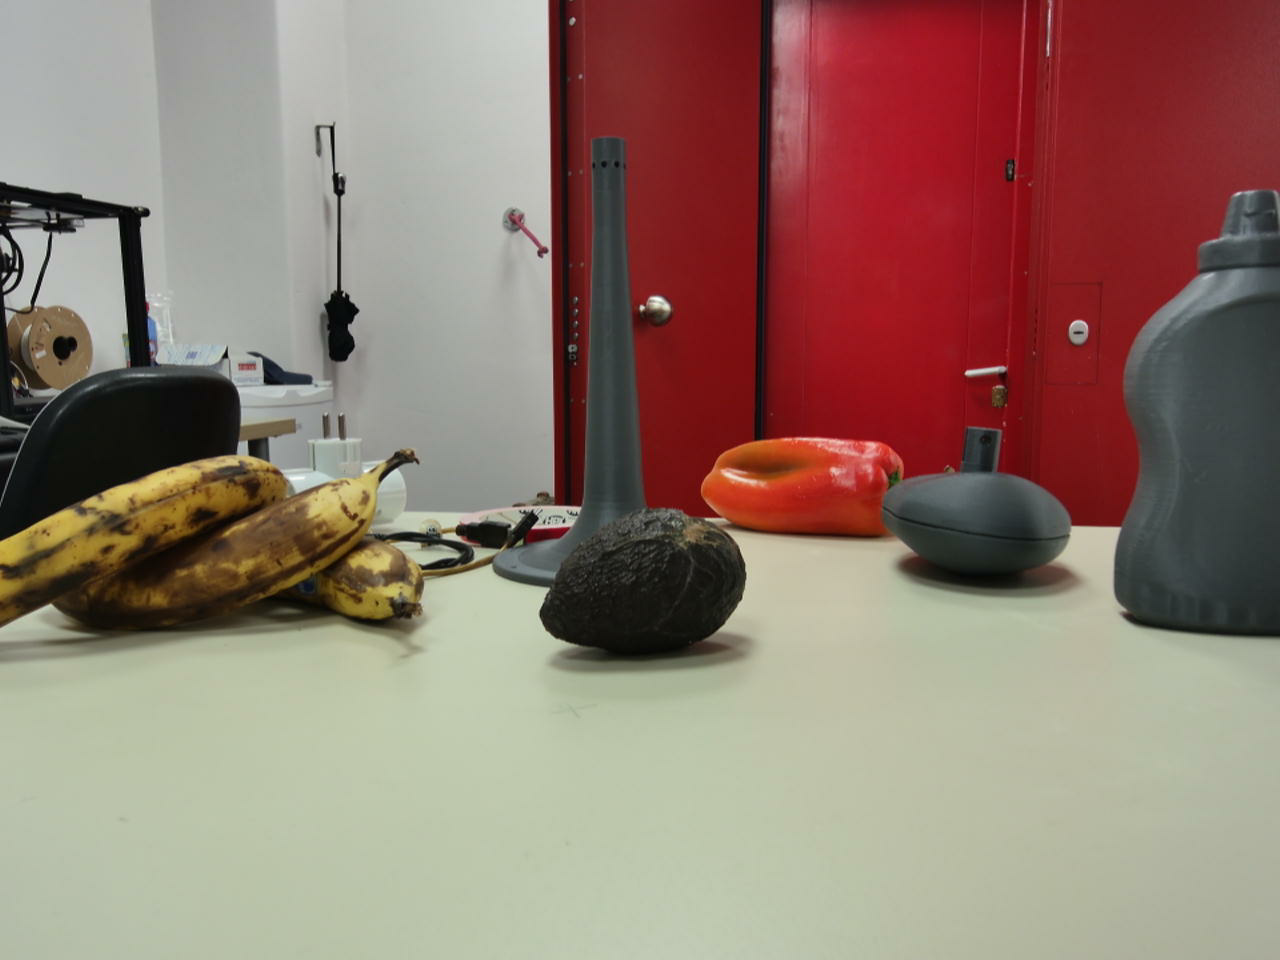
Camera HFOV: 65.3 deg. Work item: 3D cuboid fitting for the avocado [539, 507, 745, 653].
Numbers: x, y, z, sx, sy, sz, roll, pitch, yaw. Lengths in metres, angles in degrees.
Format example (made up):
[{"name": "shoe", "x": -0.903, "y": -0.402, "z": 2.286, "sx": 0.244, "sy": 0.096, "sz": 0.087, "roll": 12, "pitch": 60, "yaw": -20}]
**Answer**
[{"name": "avocado", "x": 0.001, "y": 0.043, "z": 0.437, "sx": 0.092, "sy": 0.062, "sz": 0.062, "roll": -1, "pitch": 4, "yaw": -11}]
